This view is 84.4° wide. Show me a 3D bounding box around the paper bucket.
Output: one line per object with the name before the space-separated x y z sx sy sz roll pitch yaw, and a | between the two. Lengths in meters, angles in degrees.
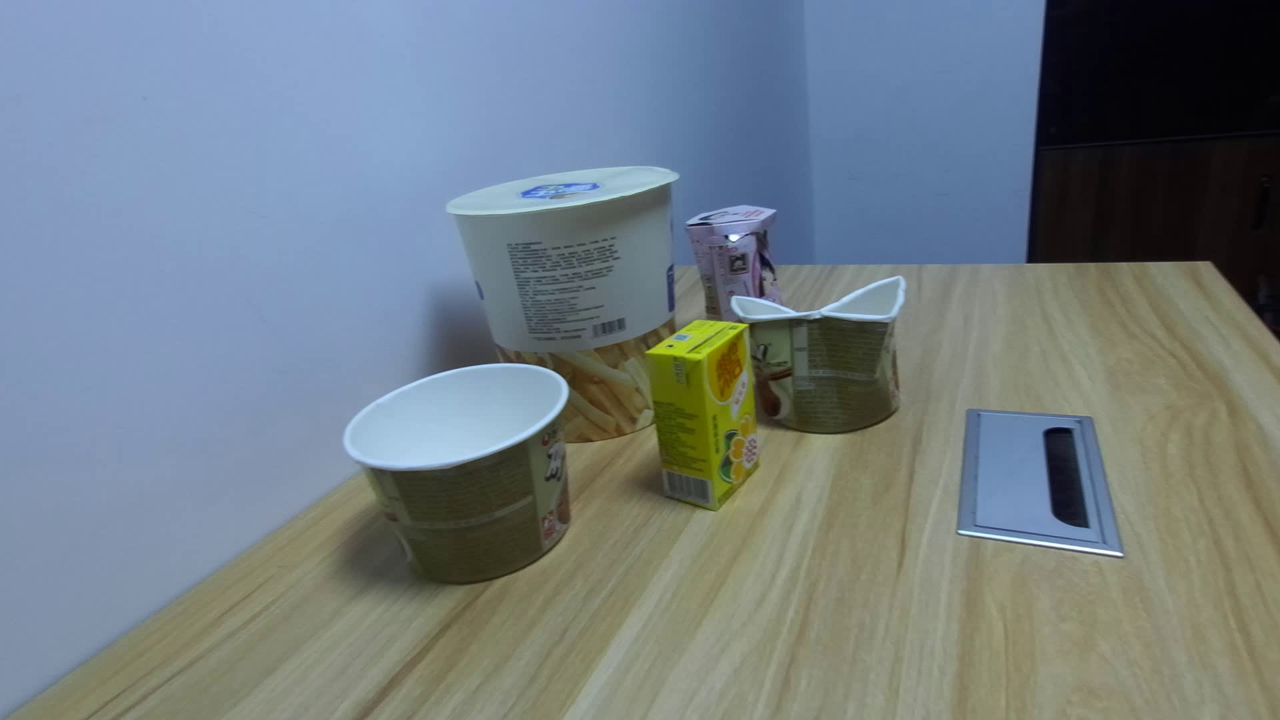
paper bucket | -0.049 -0.049 0.602 0.198 0.195 0.198 -6 21 3

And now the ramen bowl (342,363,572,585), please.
ramen bowl | -0.109 0.072 0.459 0.140 0.095 0.140 -6 22 3

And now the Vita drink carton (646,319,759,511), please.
Vita drink carton | 0.044 0.034 0.473 0.043 0.109 0.067 8 27 35

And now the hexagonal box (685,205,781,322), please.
hexagonal box | 0.095 -0.077 0.700 0.091 0.134 0.090 -16 20 -18

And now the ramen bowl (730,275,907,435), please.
ramen bowl | 0.142 -0.008 0.565 0.128 0.093 0.112 1 24 21
